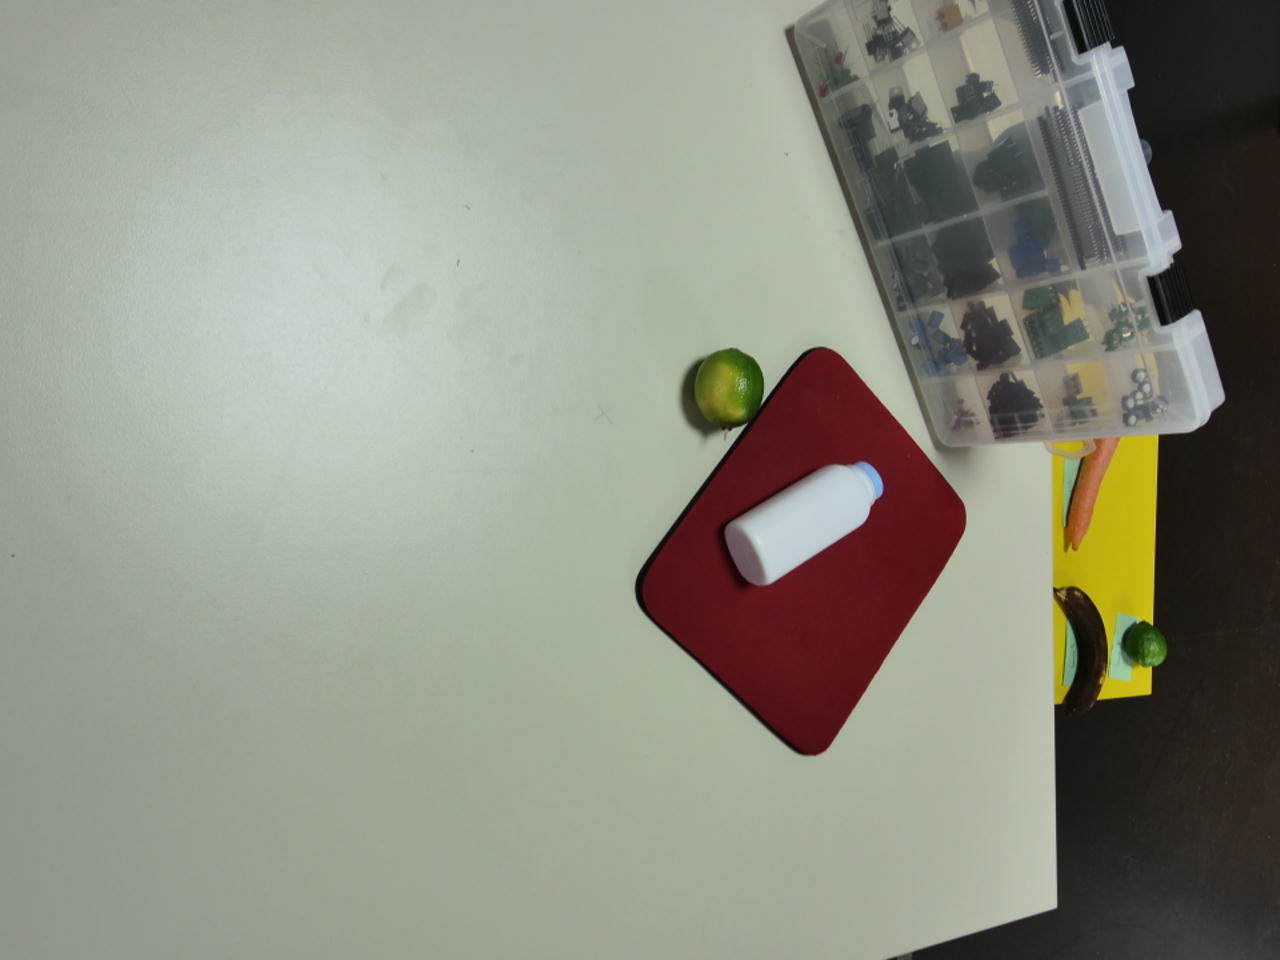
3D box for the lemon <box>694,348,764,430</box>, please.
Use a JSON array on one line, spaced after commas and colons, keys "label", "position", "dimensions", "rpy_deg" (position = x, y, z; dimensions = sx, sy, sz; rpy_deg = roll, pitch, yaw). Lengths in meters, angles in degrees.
[{"label": "lemon", "position": [0.065, -0.067, 0.727], "dimensions": [0.055, 0.050, 0.054], "rpy_deg": [-44, 110, -21]}]
